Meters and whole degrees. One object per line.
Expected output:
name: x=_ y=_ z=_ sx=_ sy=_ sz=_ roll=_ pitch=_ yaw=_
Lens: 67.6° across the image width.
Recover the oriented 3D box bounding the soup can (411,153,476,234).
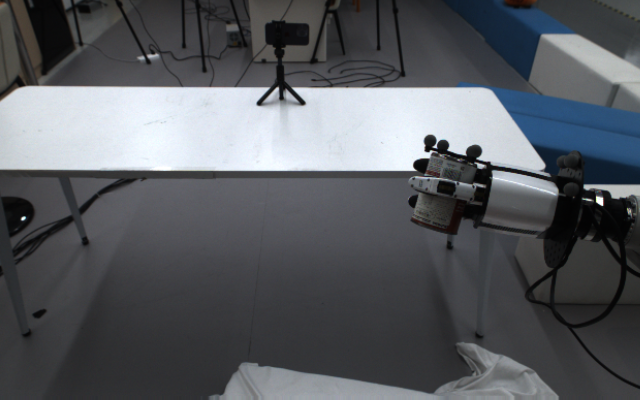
soup can: x=0.176 y=-0.010 z=0.683 sx=0.067 sy=0.101 sz=0.067 roll=15 pitch=7 yaw=-2
